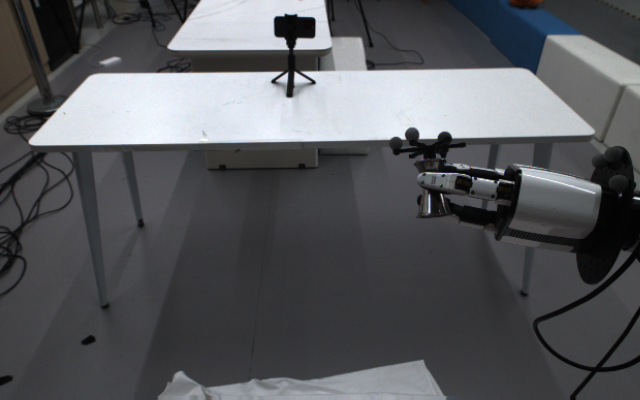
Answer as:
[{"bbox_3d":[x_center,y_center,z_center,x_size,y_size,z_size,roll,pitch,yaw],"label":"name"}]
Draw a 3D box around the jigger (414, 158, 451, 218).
[{"bbox_3d":[0.137,-0.015,0.593,0.043,0.071,0.043,-2,-7,0],"label":"jigger"}]
